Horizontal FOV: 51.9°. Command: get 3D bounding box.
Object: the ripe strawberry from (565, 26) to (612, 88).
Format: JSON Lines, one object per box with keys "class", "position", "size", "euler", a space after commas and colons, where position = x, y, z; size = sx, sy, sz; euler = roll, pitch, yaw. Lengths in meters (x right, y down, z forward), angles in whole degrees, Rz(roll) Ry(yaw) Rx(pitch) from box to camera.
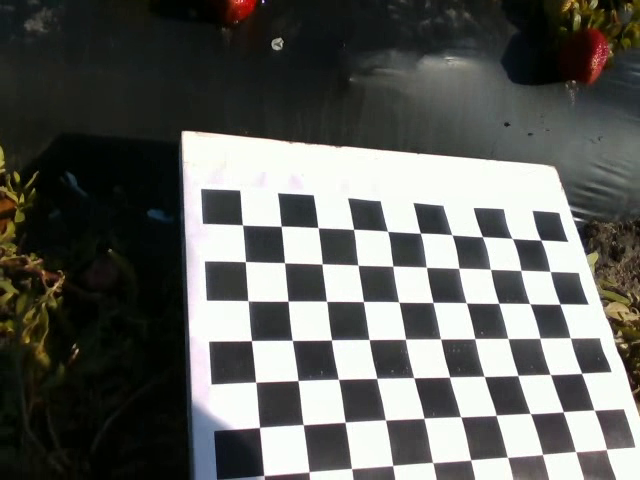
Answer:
{"class": "ripe strawberry", "position": [0.200, -0.135, 0.497], "size": [0.042, 0.059, 0.042], "euler": [25, -43, -12]}
